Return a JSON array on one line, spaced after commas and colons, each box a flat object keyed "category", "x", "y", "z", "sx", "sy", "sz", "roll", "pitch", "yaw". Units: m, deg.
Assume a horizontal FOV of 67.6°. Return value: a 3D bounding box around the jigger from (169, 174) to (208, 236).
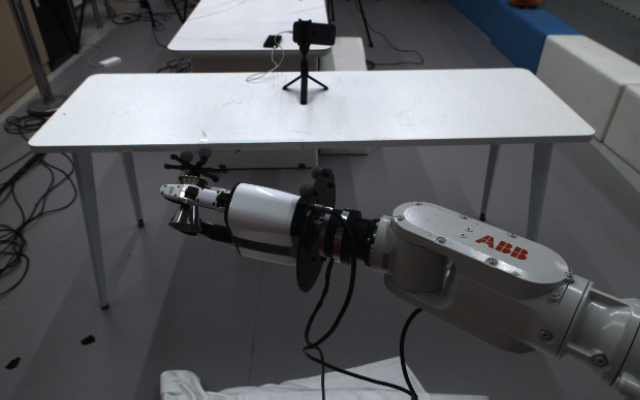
[{"category": "jigger", "x": -0.178, "y": 0.005, "z": 0.654, "sx": 0.043, "sy": 0.043, "sz": 0.071, "roll": 5, "pitch": 71, "yaw": 4}]
